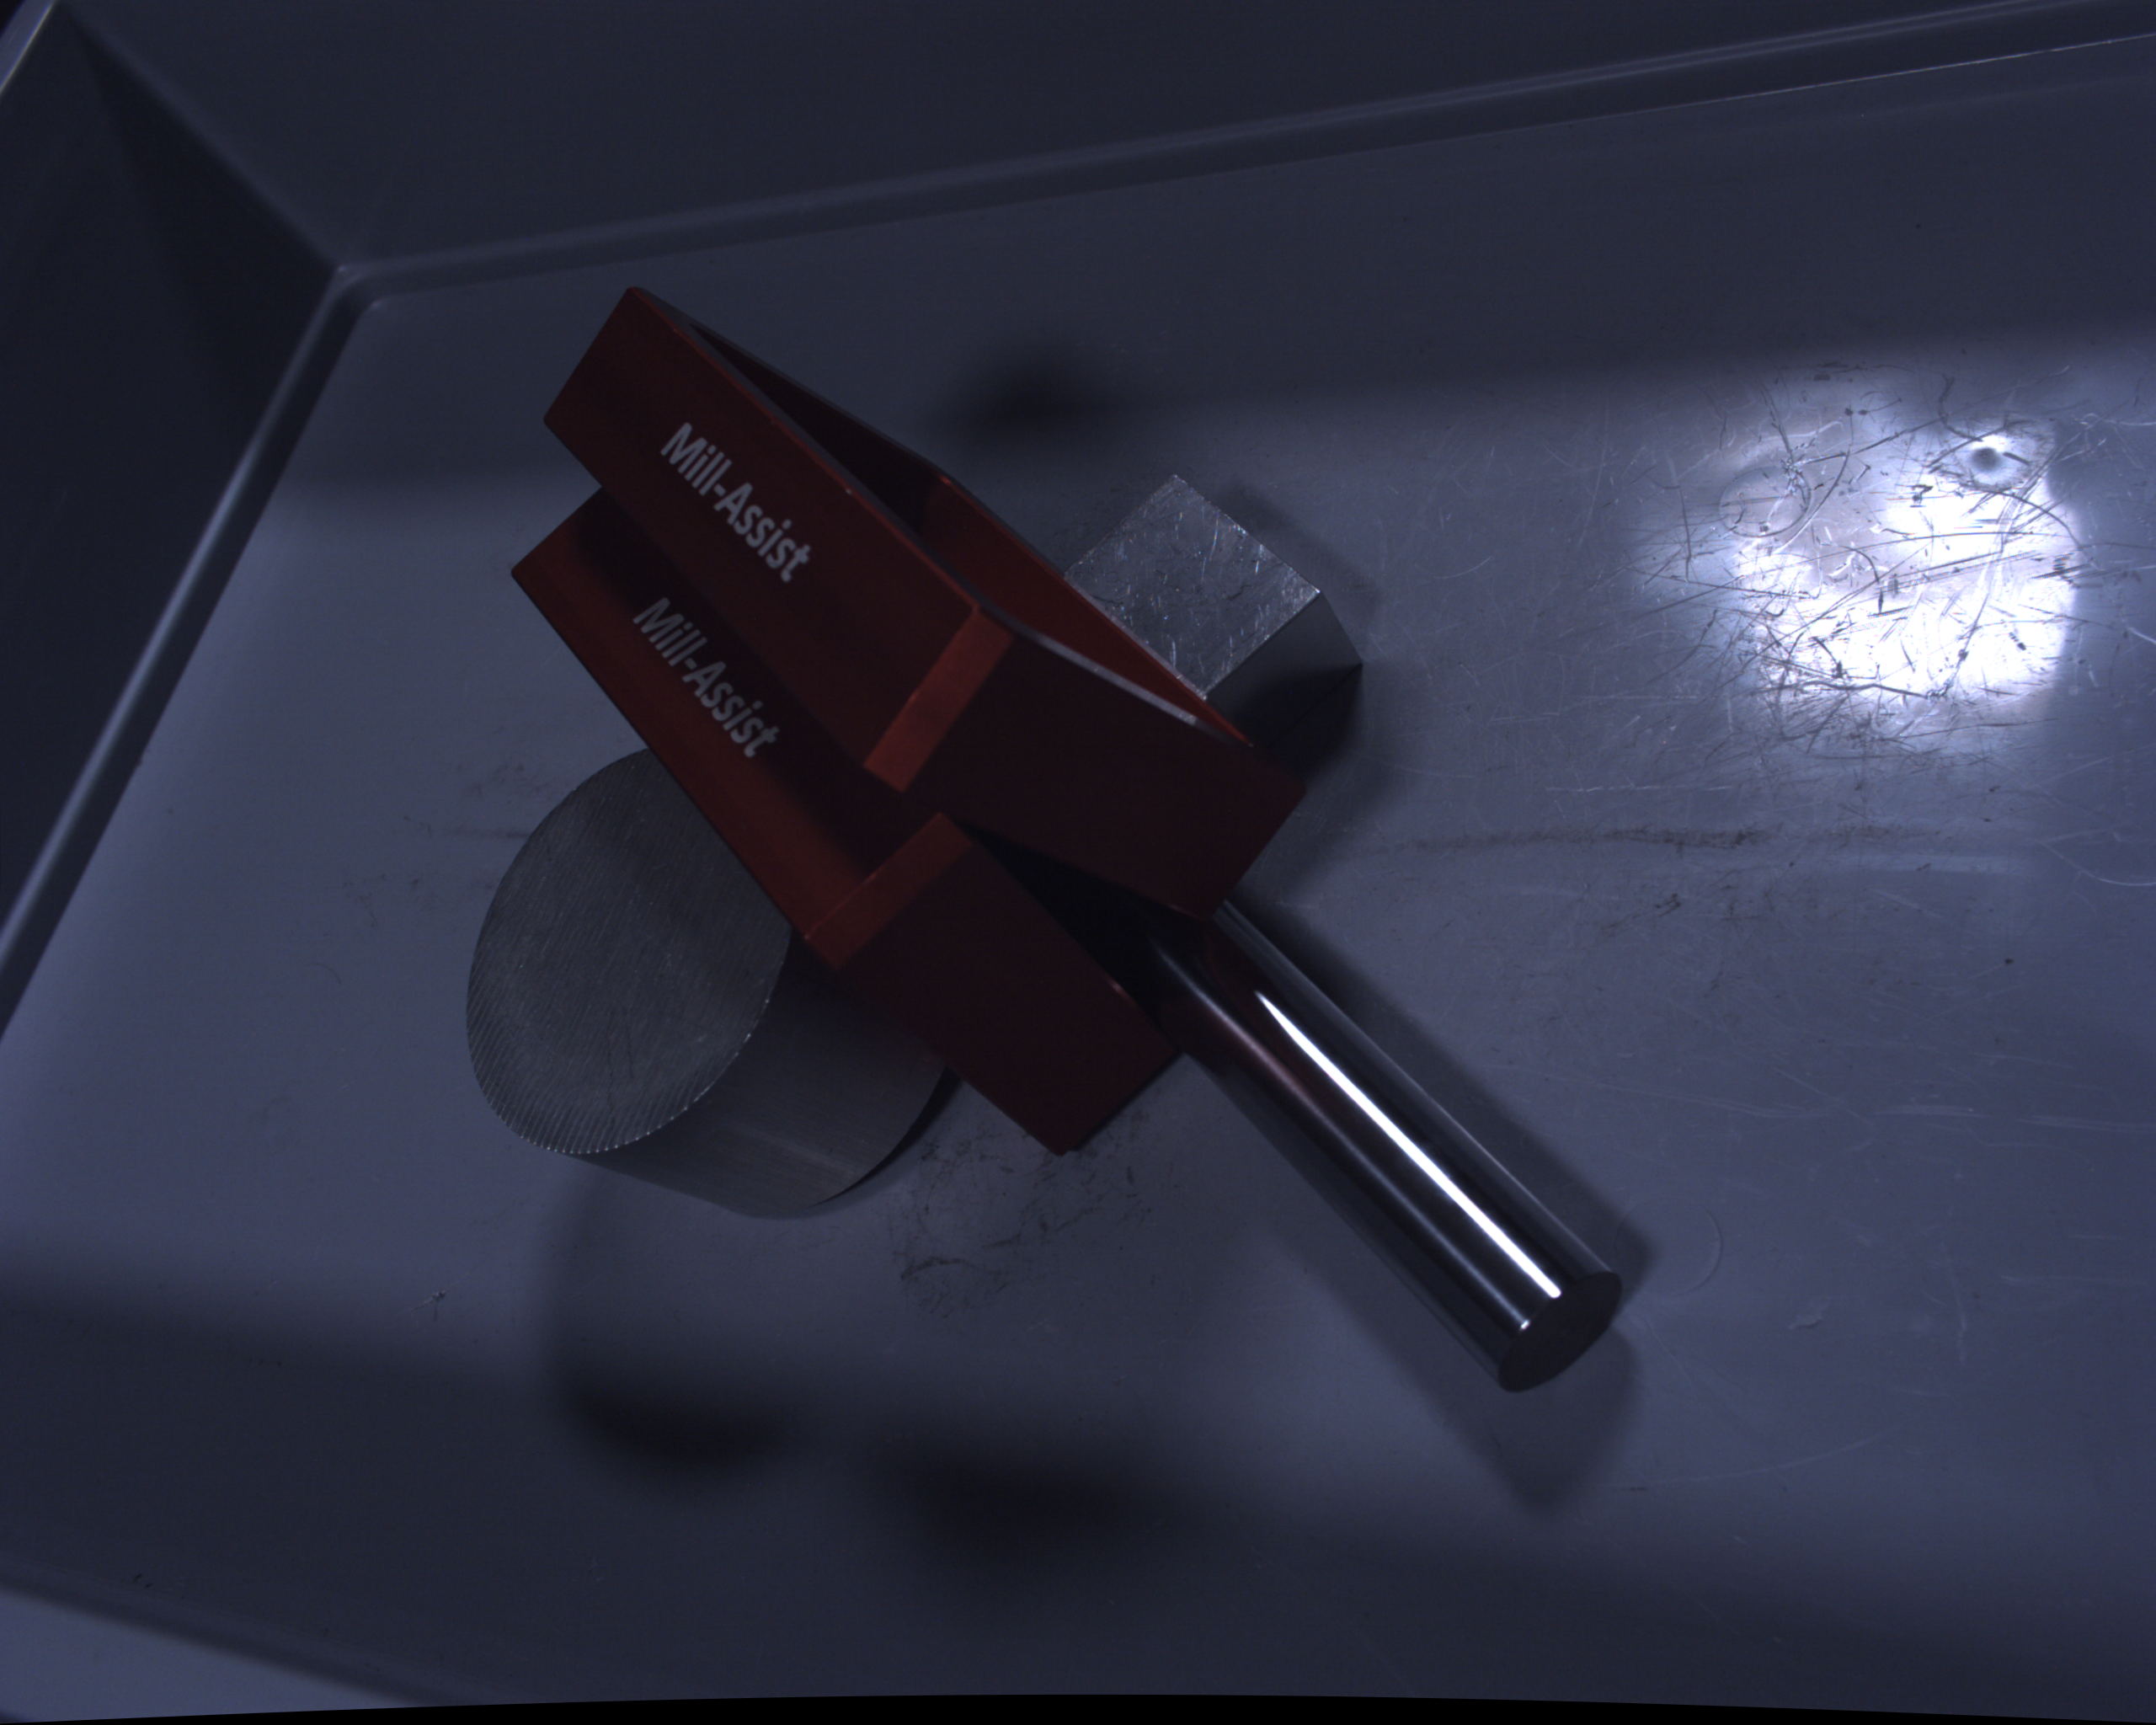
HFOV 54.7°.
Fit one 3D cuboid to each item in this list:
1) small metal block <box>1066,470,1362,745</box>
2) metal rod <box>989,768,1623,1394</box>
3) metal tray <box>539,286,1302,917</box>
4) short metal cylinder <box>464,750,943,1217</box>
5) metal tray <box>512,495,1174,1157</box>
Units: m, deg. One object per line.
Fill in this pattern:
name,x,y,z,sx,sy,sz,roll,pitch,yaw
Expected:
small metal block,0.019,-0.043,0.419,0.050,0.025,0.050,-42,51,-1
metal rod,-0.008,-0.011,0.415,0.025,0.025,0.300,-43,51,-2
metal tray,-0.030,-0.048,0.373,0.030,0.090,0.130,-54,50,12
short metal cylinder,-0.070,0.023,0.401,0.080,0.050,0.080,-14,61,28
metal tray,-0.045,-0.011,0.391,0.030,0.090,0.130,-43,51,-1
